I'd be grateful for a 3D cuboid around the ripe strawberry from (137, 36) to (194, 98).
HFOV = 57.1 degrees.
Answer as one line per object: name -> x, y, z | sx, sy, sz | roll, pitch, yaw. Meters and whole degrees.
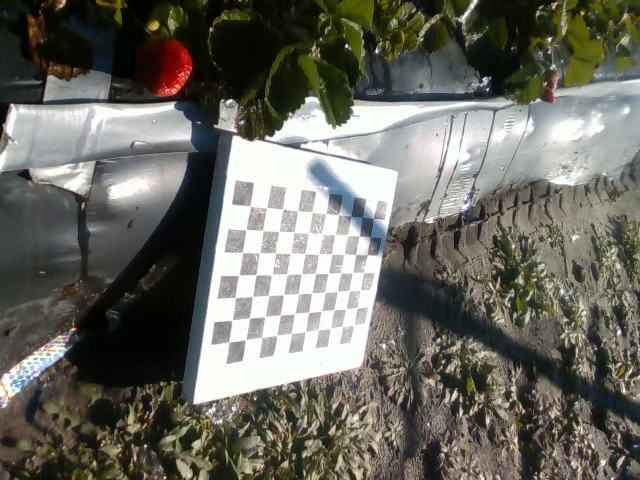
ripe strawberry -> -0.137, -0.146, 0.524 | 0.057, 0.065, 0.062 | -25, -42, 13
